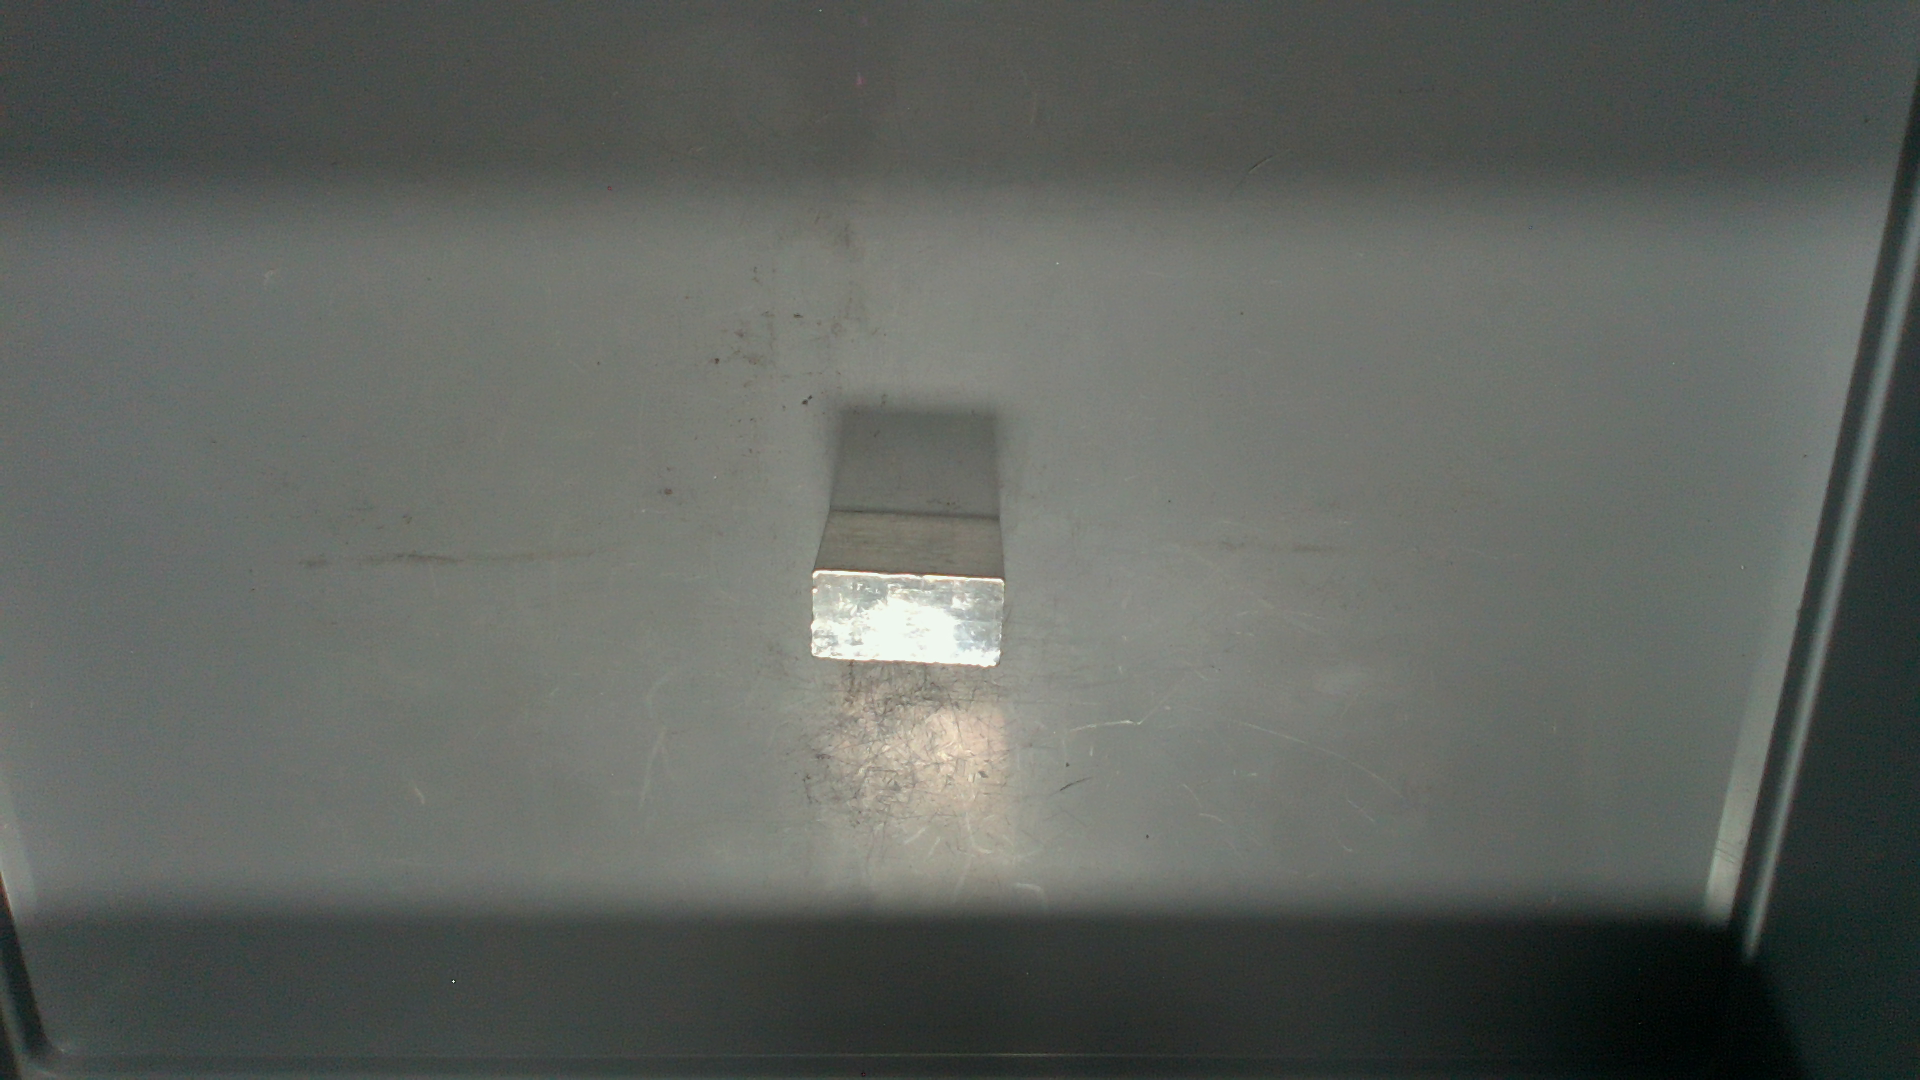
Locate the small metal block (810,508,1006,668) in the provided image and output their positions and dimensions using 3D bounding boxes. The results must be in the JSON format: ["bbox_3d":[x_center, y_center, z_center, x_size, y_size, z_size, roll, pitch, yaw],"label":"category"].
[{"bbox_3d":[-0.014,0.012,0.382,0.050,0.050,0.025,3,110,-1],"label":"small metal block"}]
